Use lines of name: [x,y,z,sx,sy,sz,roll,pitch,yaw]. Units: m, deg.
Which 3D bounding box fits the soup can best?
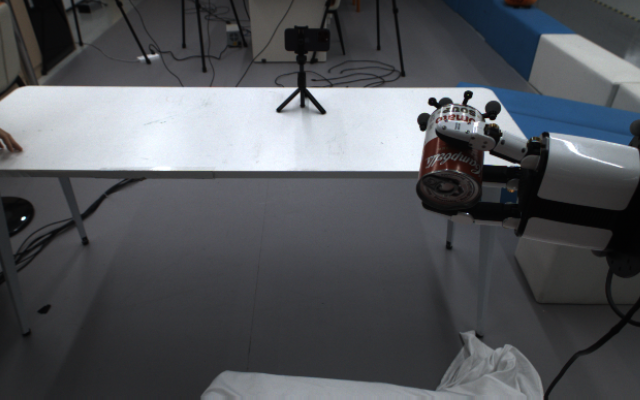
soup can: [0.148,-0.050,0.538,0.067,0.067,0.101,9,56,10]
